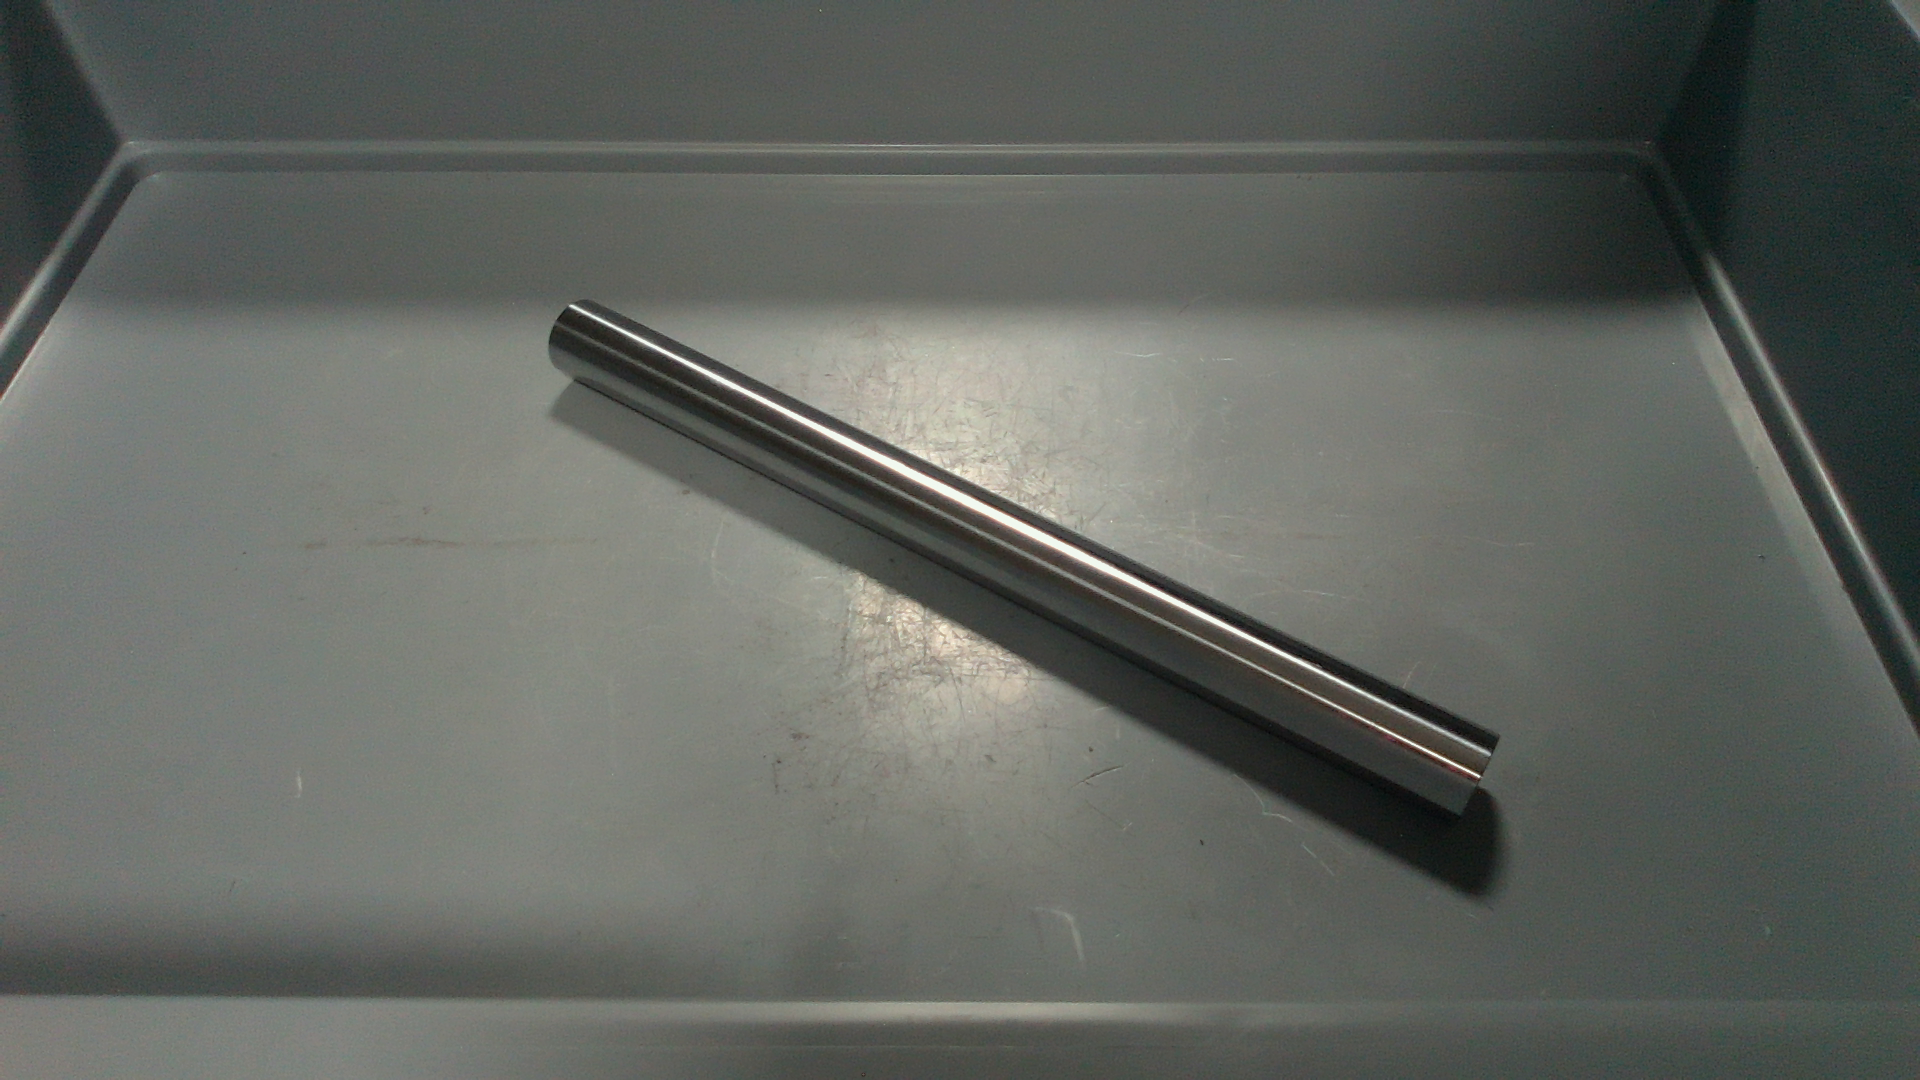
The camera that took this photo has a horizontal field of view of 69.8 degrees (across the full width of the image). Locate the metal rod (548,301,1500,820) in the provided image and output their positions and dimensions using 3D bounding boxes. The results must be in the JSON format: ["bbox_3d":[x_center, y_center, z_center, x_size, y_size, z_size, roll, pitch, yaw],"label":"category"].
[{"bbox_3d":[0.002,-0.004,0.392,0.299,0.025,0.025,26,55,20],"label":"metal rod"}]
